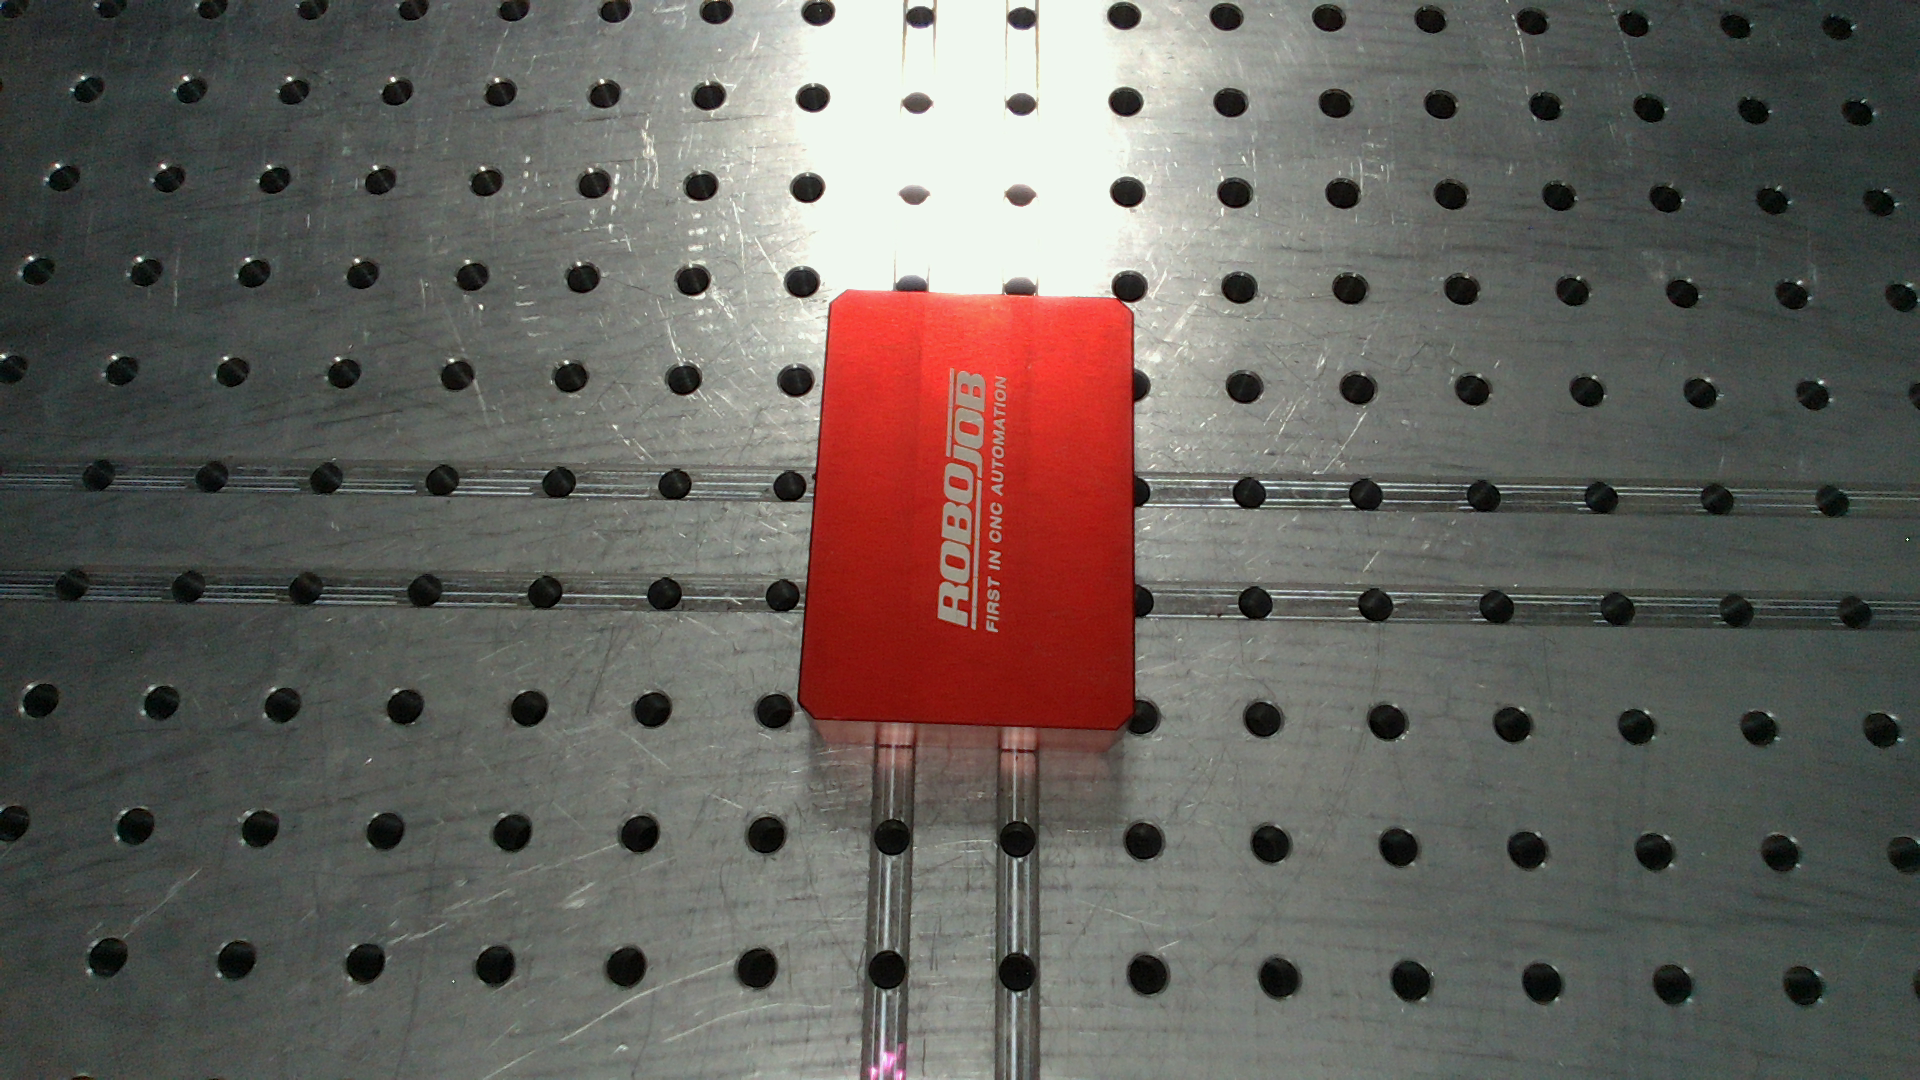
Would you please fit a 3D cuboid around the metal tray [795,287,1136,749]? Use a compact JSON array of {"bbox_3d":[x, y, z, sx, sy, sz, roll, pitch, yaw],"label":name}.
[{"bbox_3d":[0.004,-0.008,0.396,0.090,0.030,0.130,2,70,1],"label":"metal tray"}]
